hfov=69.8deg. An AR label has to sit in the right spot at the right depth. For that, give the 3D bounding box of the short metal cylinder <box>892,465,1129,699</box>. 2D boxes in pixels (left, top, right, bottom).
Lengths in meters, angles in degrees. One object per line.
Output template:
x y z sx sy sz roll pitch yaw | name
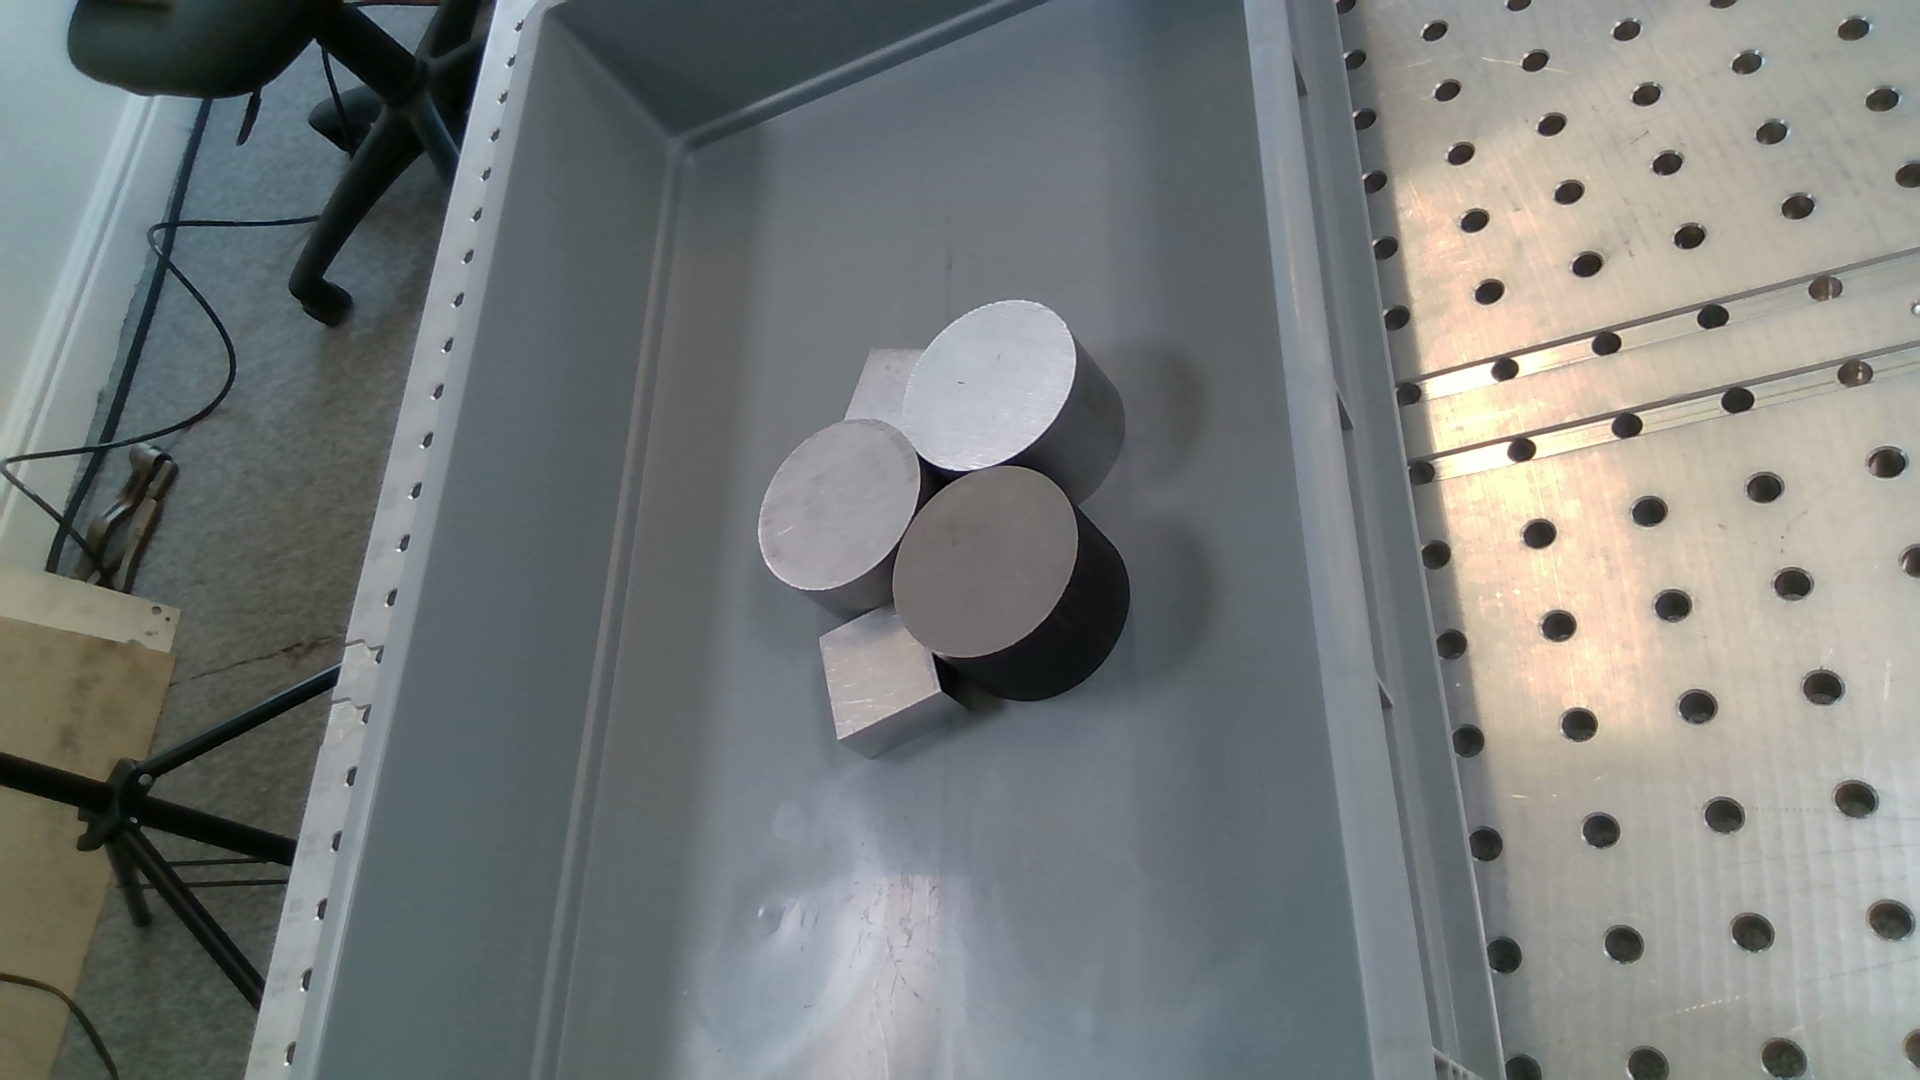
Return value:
0.020 0.017 0.547 0.080 0.050 0.080 -14 59 25 | short metal cylinder

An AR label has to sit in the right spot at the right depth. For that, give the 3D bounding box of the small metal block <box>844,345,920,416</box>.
-0.023 -0.061 0.631 0.050 0.025 0.050 7 70 34 | small metal block

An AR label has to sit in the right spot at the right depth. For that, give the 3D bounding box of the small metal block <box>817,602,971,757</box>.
-0.028 0.055 0.573 0.050 0.025 0.050 -27 54 17 | small metal block

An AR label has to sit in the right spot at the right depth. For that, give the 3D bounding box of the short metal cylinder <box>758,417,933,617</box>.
-0.040 -0.006 0.596 0.080 0.050 0.080 -14 59 25 | short metal cylinder

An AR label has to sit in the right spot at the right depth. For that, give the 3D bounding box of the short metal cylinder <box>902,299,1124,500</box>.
0.023 -0.054 0.583 0.080 0.050 0.080 -14 59 25 | short metal cylinder
